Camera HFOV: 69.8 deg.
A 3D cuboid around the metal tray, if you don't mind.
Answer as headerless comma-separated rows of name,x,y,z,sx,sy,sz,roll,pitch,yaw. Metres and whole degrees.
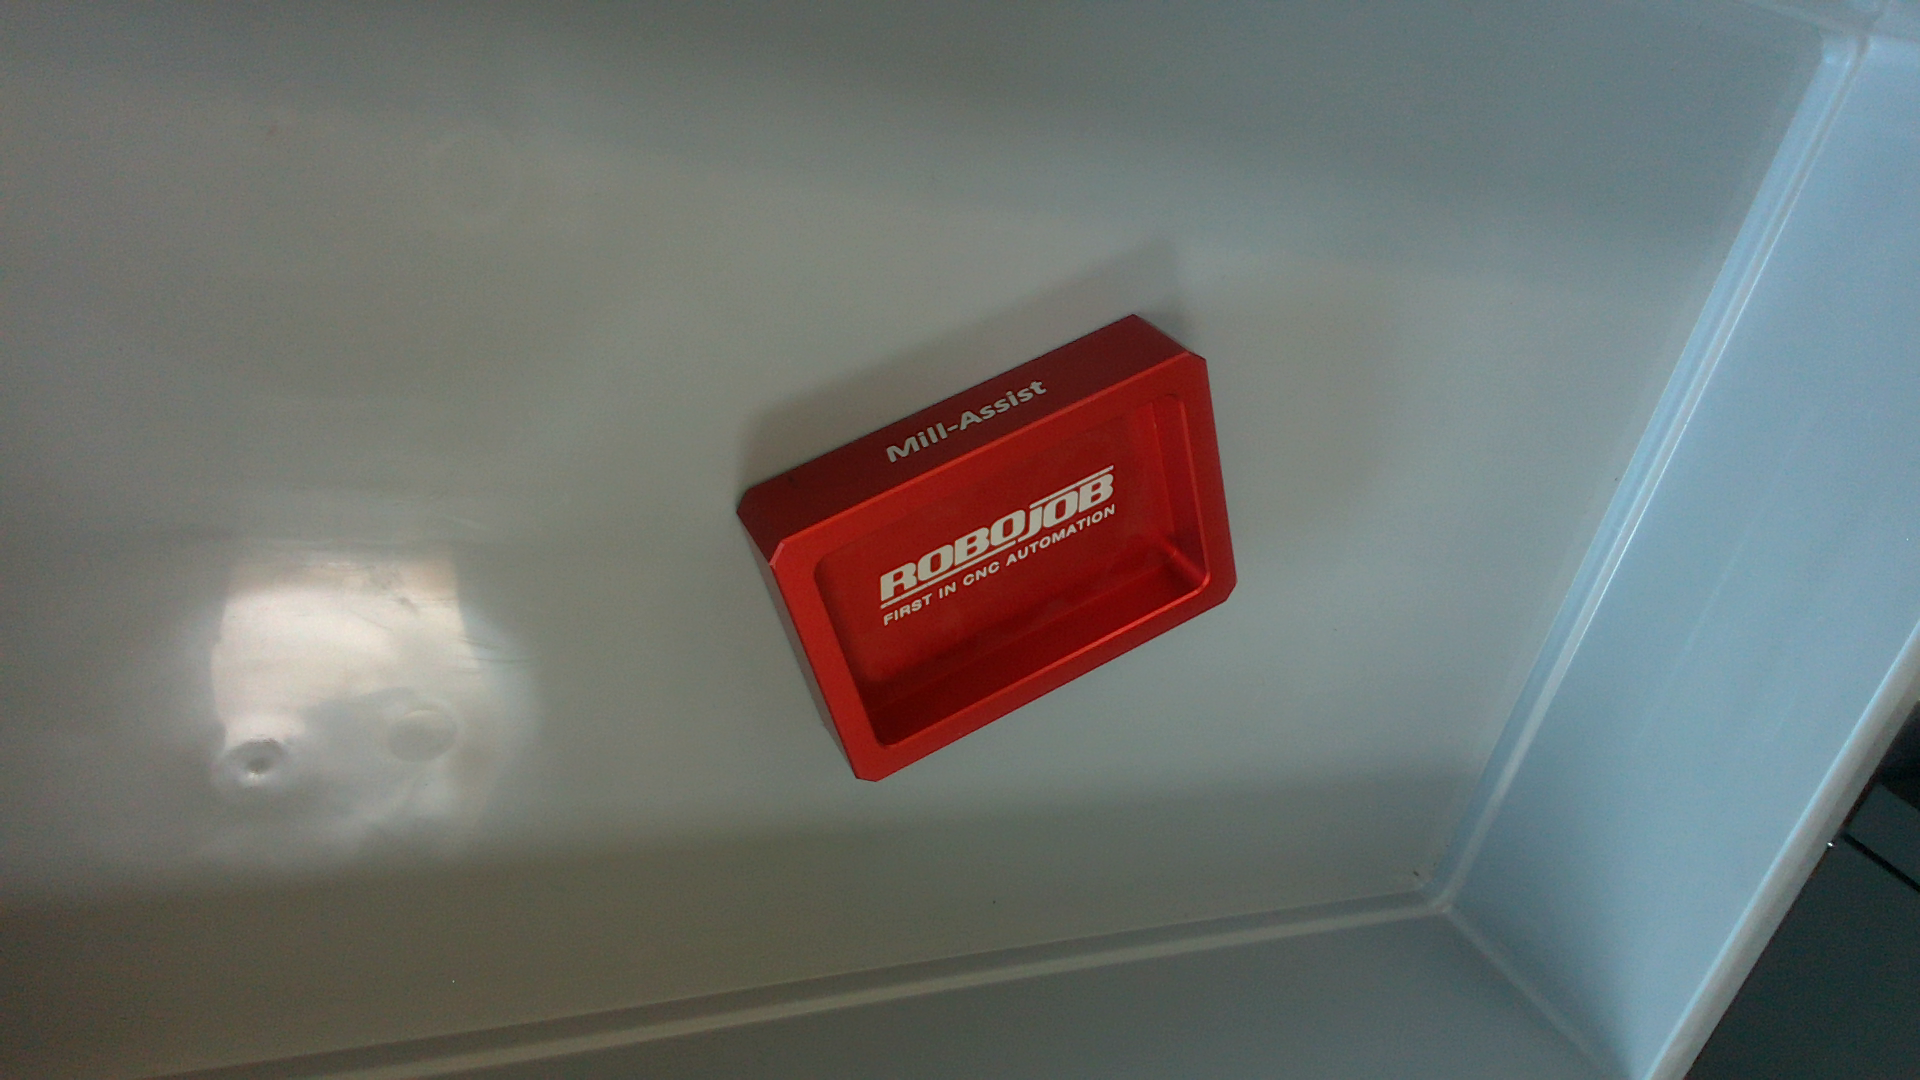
metal tray,0.013,0.003,0.391,0.130,0.030,0.090,-26,128,-13
